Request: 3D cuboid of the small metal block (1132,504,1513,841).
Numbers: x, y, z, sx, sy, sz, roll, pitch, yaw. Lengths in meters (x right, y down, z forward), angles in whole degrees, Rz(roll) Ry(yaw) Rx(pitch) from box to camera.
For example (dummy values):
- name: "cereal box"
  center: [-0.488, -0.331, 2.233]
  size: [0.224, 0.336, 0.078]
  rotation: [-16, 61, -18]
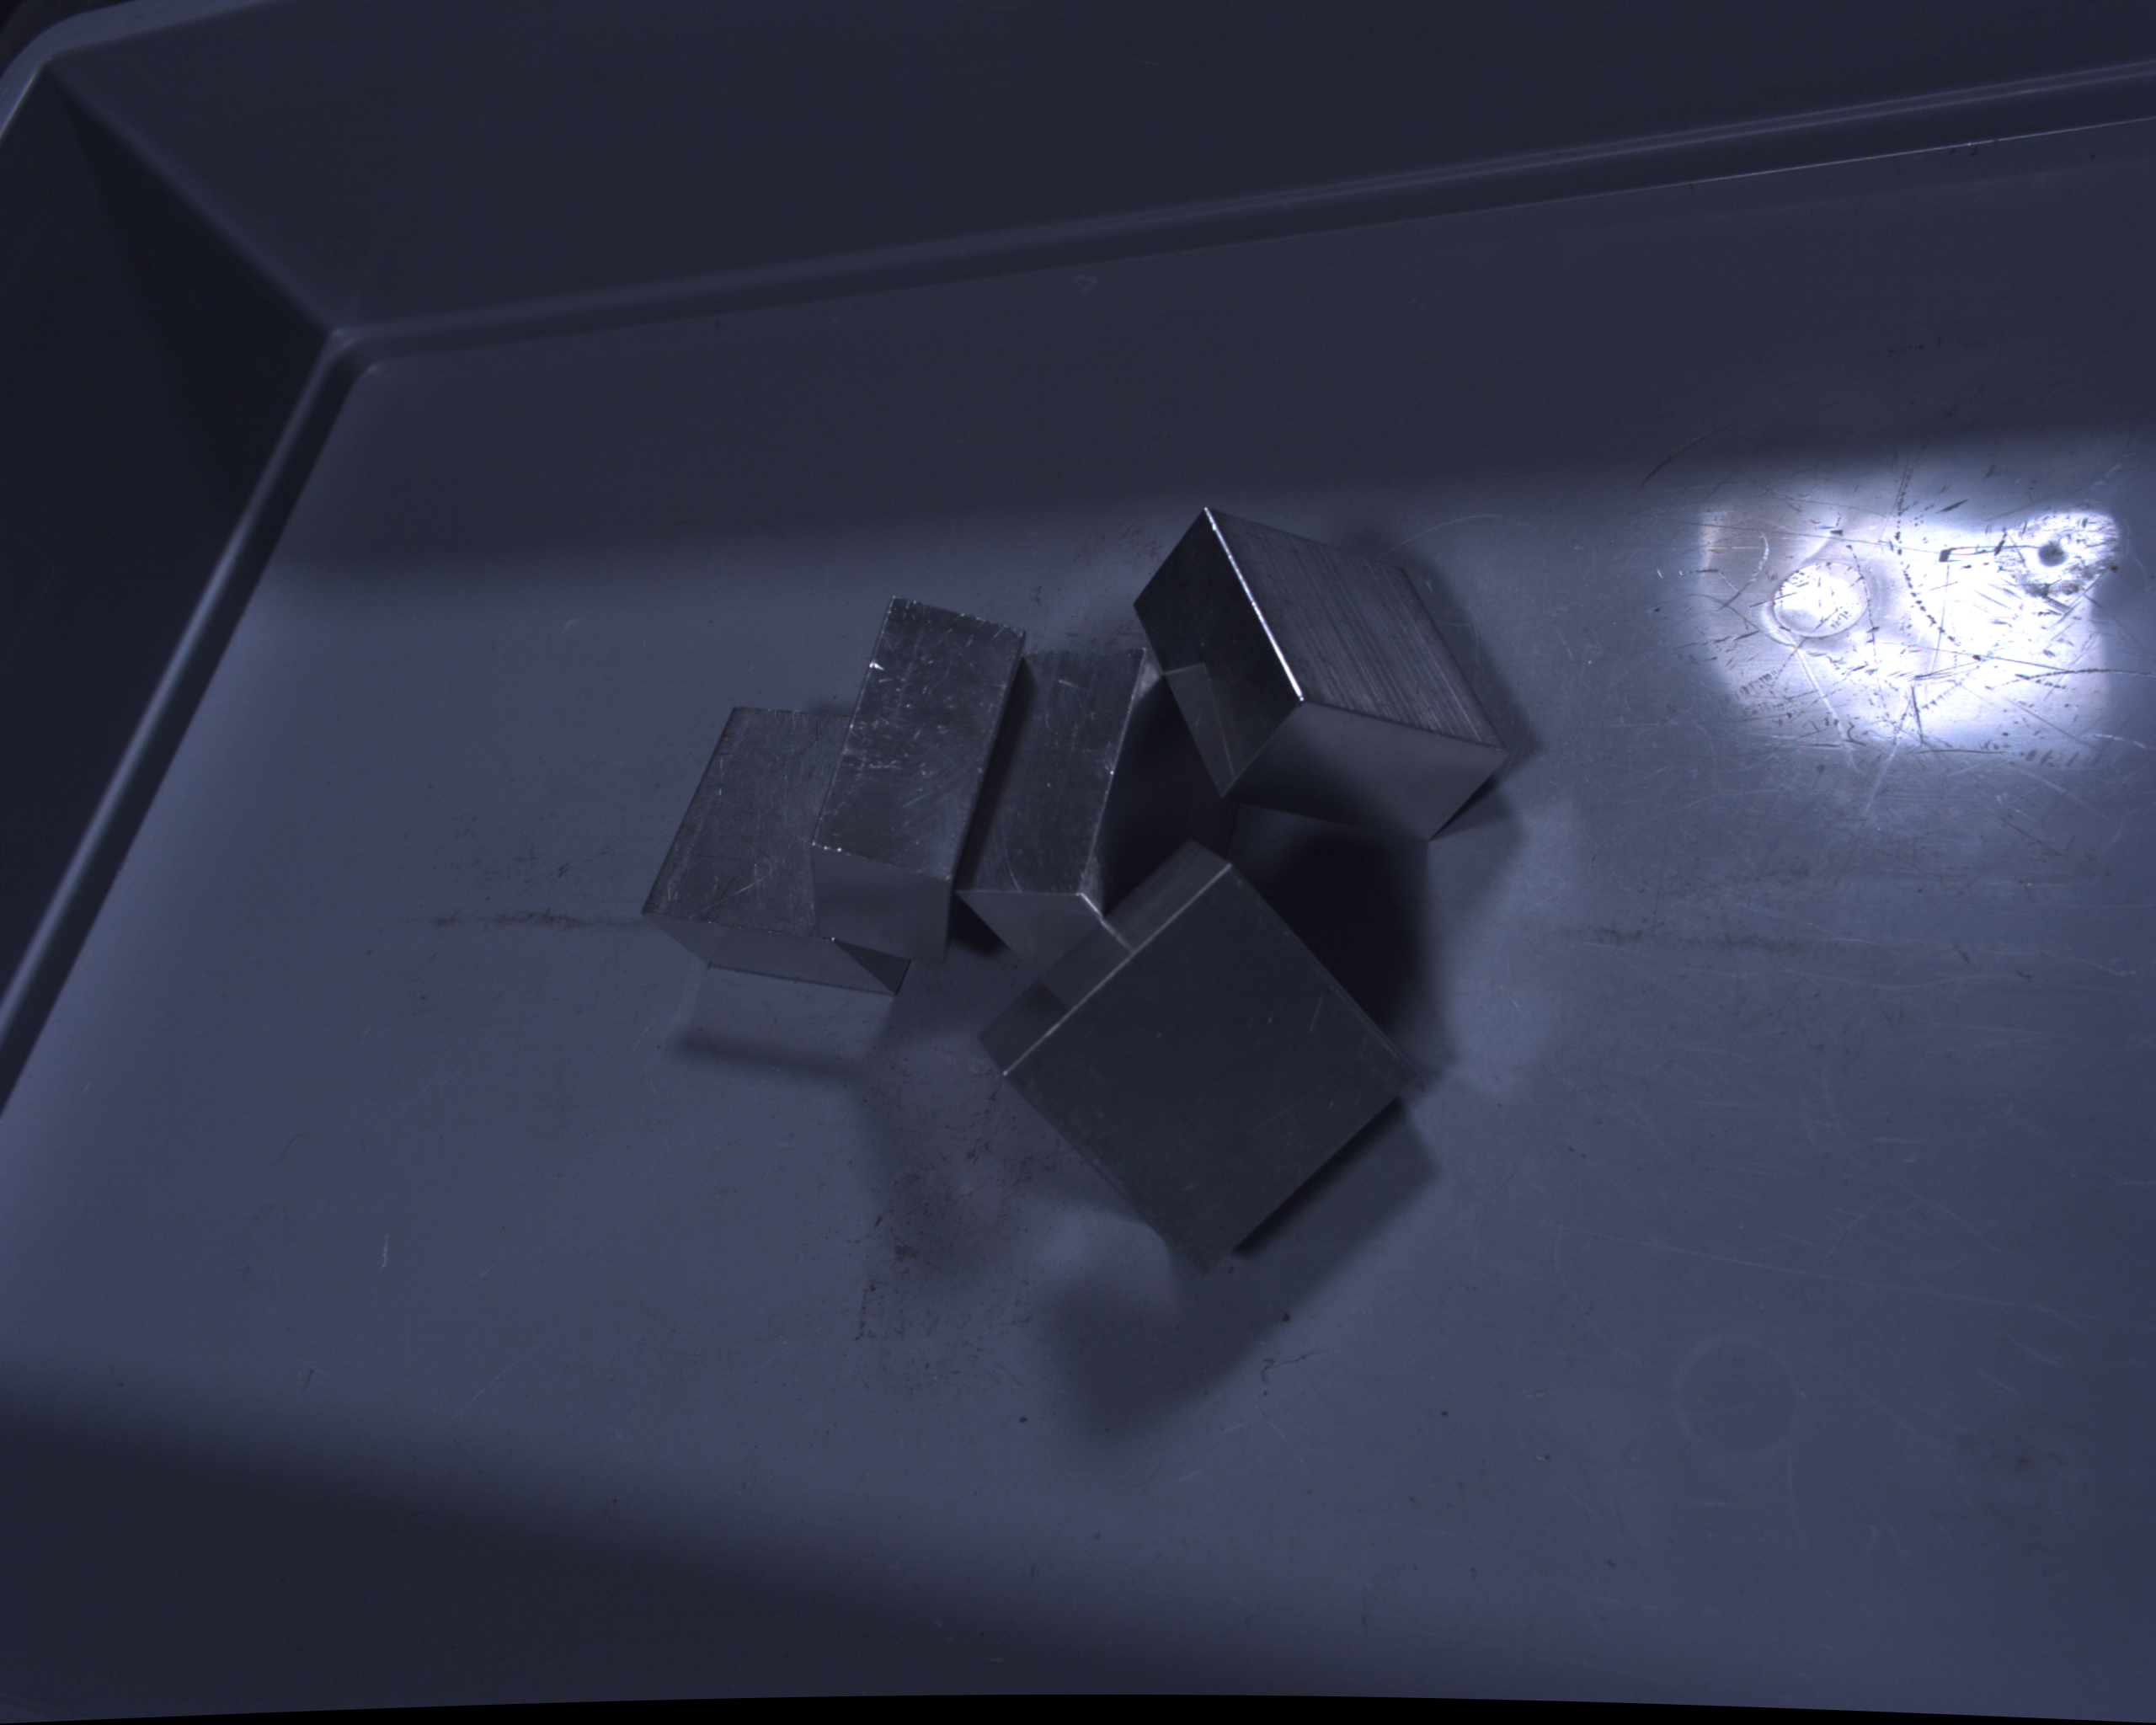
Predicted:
- name: "small metal block"
  center: [0.044, -0.034, 0.381]
  size: [0.025, 0.050, 0.050]
  rotation: [-52, 44, 34]

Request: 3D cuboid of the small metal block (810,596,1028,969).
- name: "small metal block"
  center: [-0.030, -0.013, 0.387]
  size: [0.025, 0.050, 0.050]
  rotation: [15, 69, 0]

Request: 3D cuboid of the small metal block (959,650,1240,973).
- name: "small metal block"
  center: [0.006, -0.004, 0.387]
  size: [0.025, 0.050, 0.050]
  rotation: [1, 62, 28]

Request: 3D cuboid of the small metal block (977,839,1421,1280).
- name: "small metal block"
  center: [0.020, 0.033, 0.353]
  size: [0.050, 0.050, 0.025]
  rotation: [-43, 16, -3]

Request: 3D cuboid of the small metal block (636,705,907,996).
- name: "small metal block"
  center: [-0.055, -0.003, 0.432]
  size: [0.050, 0.025, 0.050]
  rotation: [7, 65, 31]
